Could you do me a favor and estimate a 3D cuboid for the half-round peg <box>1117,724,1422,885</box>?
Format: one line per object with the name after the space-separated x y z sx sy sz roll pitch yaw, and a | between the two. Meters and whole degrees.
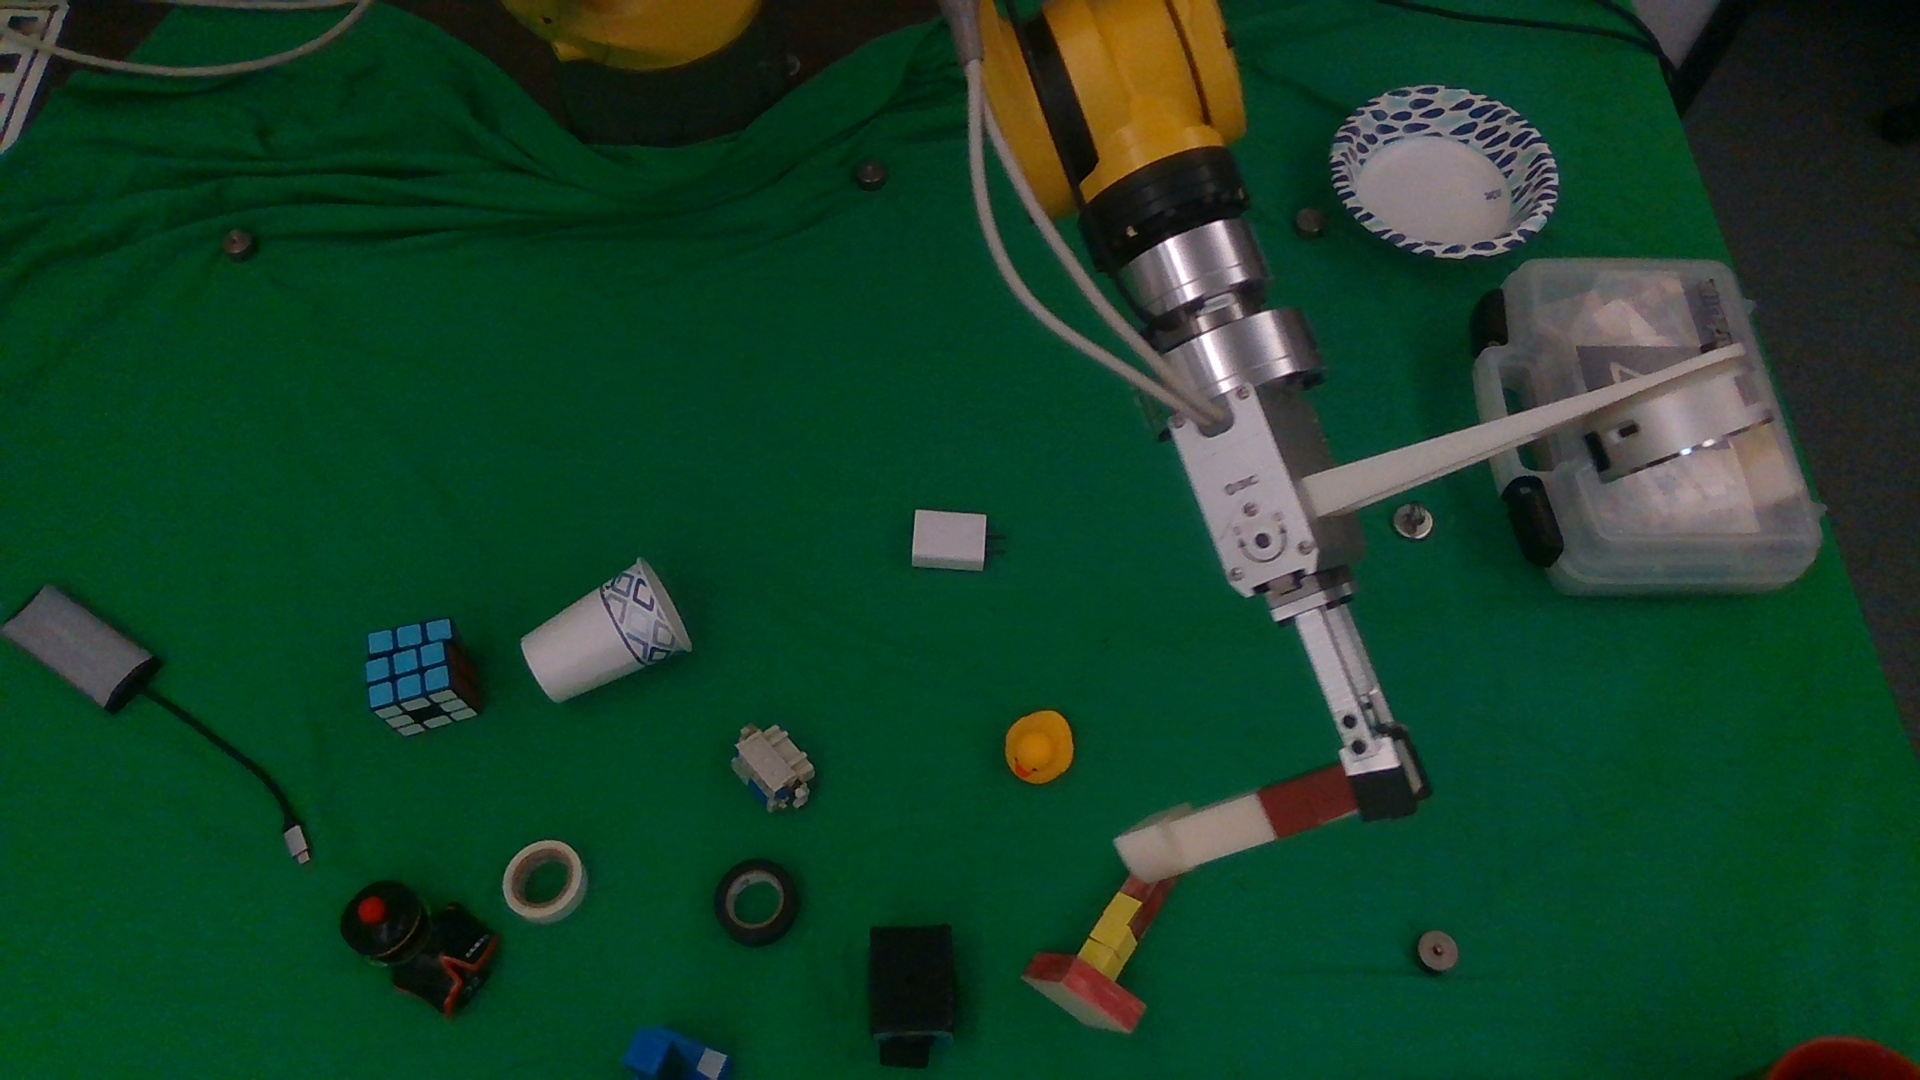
0.127 0.108 0.569 0.122 0.054 0.031 -27 83 23 | half-round peg

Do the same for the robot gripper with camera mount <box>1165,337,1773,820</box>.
0.211 0.002 0.527 0.194 0.118 0.158 -24 81 25 | robot gripper with camera mount
